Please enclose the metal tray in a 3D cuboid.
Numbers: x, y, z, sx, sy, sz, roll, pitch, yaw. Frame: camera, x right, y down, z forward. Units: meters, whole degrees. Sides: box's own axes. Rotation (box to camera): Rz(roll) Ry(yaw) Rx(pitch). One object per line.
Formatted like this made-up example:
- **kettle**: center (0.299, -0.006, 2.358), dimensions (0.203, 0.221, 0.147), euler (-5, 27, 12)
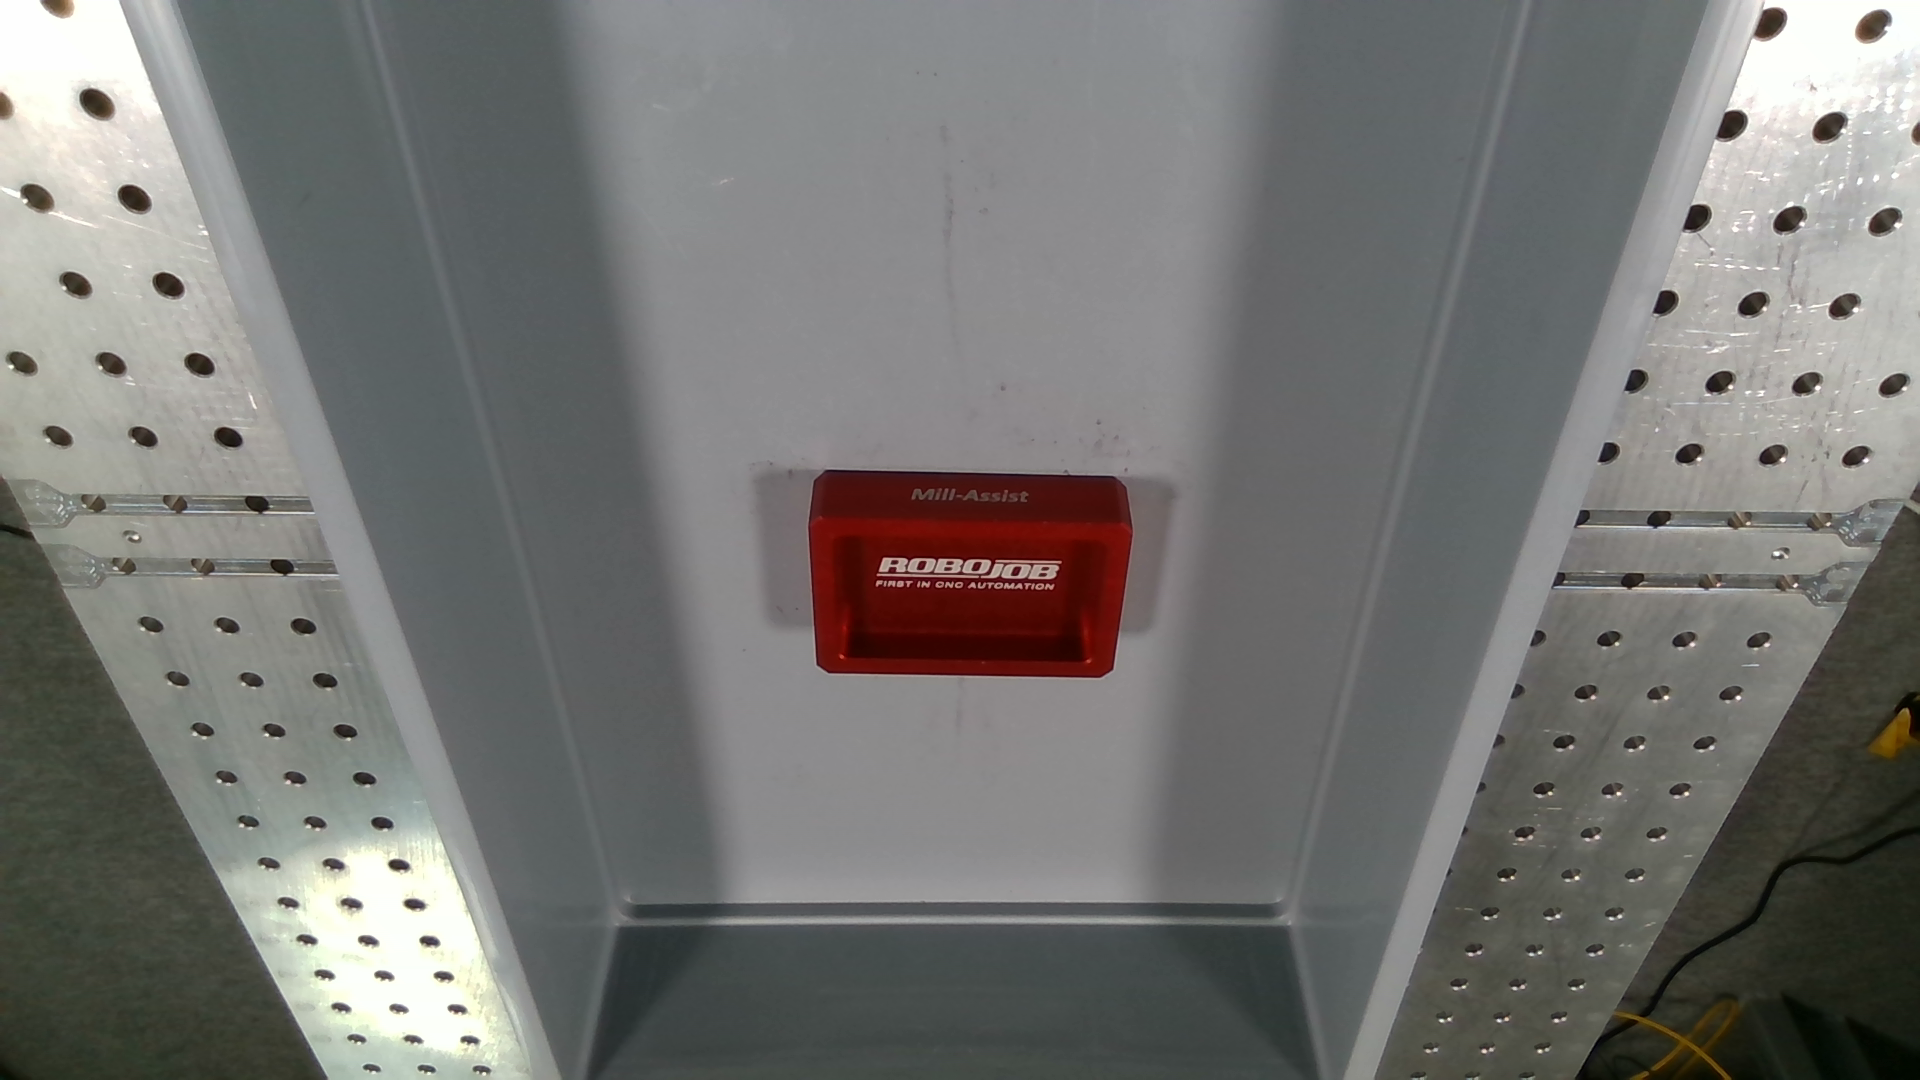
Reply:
- **metal tray**: center (0.003, 0.016, 0.586), dimensions (0.130, 0.030, 0.090), euler (1, 131, -1)
